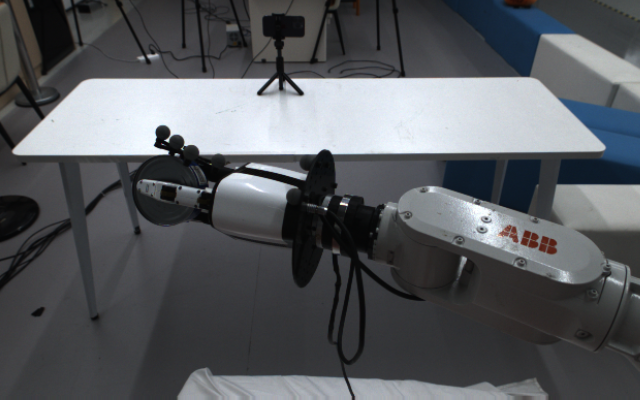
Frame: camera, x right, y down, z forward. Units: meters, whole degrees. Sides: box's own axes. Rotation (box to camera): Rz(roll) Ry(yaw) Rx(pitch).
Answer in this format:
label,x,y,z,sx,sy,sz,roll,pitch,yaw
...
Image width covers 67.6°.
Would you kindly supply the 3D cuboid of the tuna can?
label,x,y,z,sx,sy,sz,roll,pitch,yaw
tuna can,-0.180,-0.011,0.590,0.085,0.085,0.034,10,4,11
